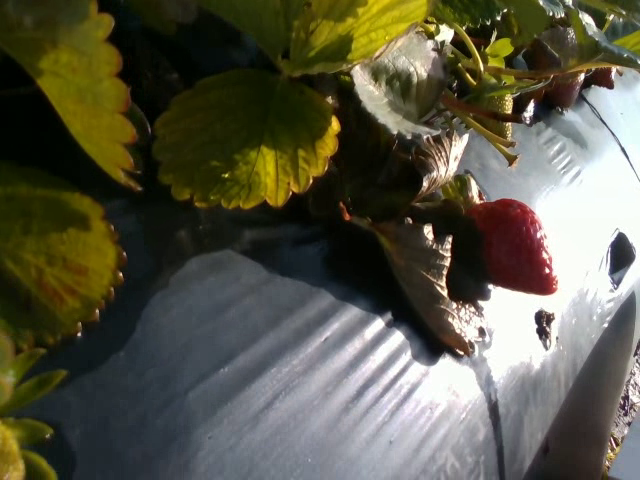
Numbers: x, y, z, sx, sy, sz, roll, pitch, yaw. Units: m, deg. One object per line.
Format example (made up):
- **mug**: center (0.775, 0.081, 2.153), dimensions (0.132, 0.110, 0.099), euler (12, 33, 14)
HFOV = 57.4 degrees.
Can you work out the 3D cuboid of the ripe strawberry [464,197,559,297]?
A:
- **ripe strawberry**: center (0.074, 0.010, 0.212), dimensions (0.037, 0.054, 0.046), euler (-43, -27, 26)
